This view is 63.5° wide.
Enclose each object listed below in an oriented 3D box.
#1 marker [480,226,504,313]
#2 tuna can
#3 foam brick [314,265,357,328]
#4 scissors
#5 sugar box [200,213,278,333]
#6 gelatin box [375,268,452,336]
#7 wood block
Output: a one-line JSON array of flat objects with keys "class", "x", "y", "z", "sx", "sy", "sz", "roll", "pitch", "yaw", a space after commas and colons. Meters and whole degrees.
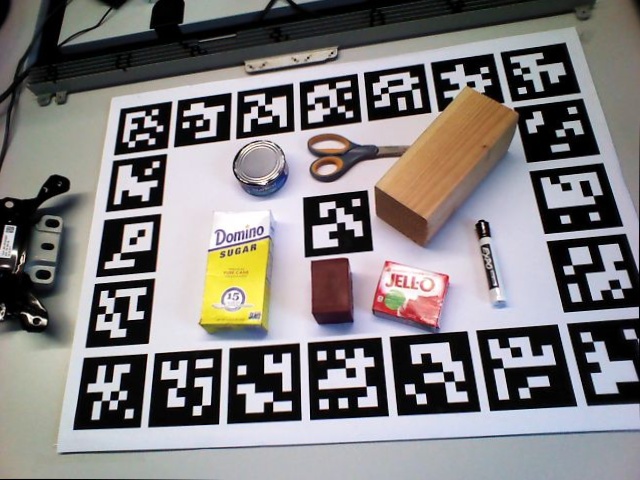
[{"class": "marker", "x": 0.235, "y": 0.038, "z": 0.707, "sx": 0.020, "sy": 0.019, "sz": 0.120, "roll": -4, "pitch": 69, "yaw": 10}, {"class": "tuna can", "x": -0.094, "y": -0.109, "z": 0.827, "sx": 0.086, "sy": 0.034, "sz": 0.085, "roll": -4, "pitch": 68, "yaw": 10}, {"class": "foam brick", "x": 0.022, "y": 0.079, "z": 0.714, "sx": 0.053, "sy": 0.051, "sz": 0.077, "roll": -4, "pitch": 68, "yaw": 10}, {"class": "scissors", "x": 0.079, "y": -0.128, "z": 0.813, "sx": 0.204, "sy": 0.016, "sz": 0.087, "roll": 1, "pitch": 68, "yaw": 14}, {"class": "sugar box", "x": -0.117, "y": 0.048, "z": 0.765, "sx": 0.093, "sy": 0.045, "sz": 0.175, "roll": -1, "pitch": 68, "yaw": 10}, {"class": "gelatin box", "x": 0.127, "y": 0.084, "z": 0.707, "sx": 0.090, "sy": 0.030, "sz": 0.073, "roll": 13, "pitch": 72, "yaw": 17}, {"class": "wood block", "x": 0.190, "y": -0.094, "z": 0.738, "sx": 0.090, "sy": 0.091, "sz": 0.205, "roll": 39, "pitch": 79, "yaw": 24}]
